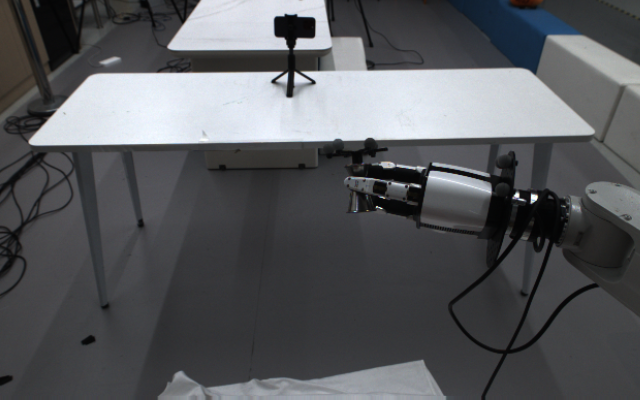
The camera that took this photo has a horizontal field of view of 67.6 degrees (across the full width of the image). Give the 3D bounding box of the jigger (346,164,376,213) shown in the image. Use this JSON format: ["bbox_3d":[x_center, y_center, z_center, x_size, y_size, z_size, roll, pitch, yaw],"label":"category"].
[{"bbox_3d":[0.056,-0.017,0.691,0.043,0.071,0.043,-4,1,0],"label":"jigger"}]
